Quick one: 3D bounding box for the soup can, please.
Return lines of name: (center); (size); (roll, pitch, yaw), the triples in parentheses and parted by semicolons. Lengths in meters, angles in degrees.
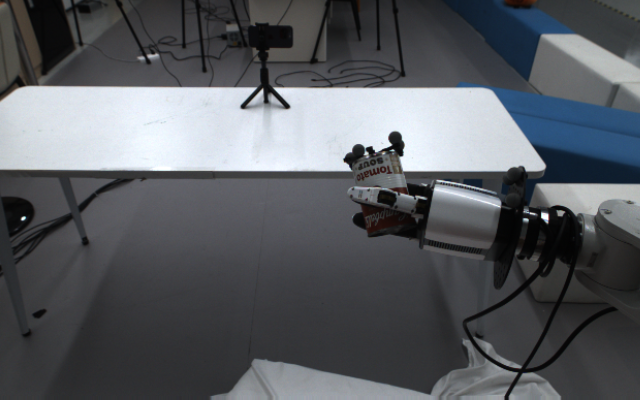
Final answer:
soup can: (0.086, -0.007, 0.651); (0.067, 0.067, 0.101); (-10, 80, -16)
